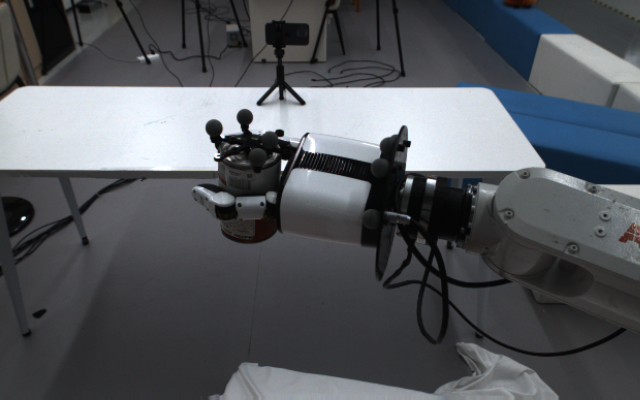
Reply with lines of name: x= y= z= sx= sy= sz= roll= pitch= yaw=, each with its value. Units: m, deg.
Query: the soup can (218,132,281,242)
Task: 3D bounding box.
soup can: x=-0.075 y=-0.011 z=0.530 sx=0.067 sy=0.101 sz=0.067 roll=5 pitch=37 yaw=-3
